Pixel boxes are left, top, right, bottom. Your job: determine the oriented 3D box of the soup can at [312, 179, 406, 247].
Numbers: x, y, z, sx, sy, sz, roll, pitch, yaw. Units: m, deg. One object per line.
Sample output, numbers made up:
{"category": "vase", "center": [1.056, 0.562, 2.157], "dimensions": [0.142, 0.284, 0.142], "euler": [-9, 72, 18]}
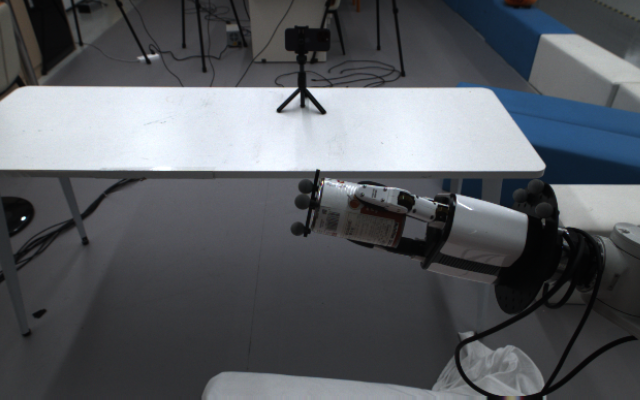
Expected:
{"category": "soup can", "center": [0.048, 0.015, 0.572], "dimensions": [0.101, 0.067, 0.067], "euler": [11, 35, -2]}
